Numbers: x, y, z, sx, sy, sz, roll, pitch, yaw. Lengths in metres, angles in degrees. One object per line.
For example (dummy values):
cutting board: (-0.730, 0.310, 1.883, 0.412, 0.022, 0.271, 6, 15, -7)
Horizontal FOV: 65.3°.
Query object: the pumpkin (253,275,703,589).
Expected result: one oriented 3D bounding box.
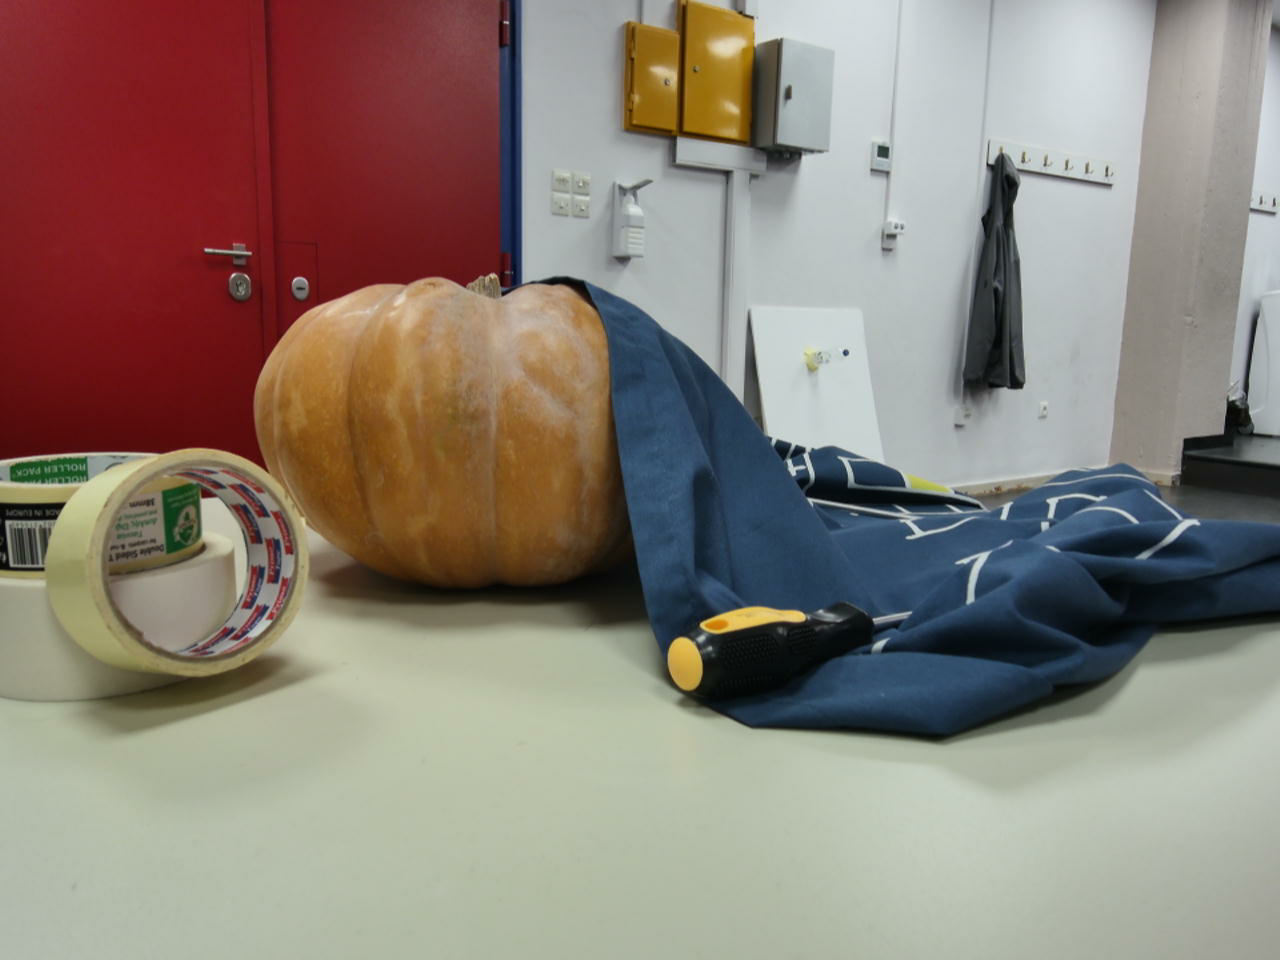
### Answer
pumpkin: (-0.094, -0.032, 0.608, 0.277, 0.181, 0.277, 0, 8, 0)
